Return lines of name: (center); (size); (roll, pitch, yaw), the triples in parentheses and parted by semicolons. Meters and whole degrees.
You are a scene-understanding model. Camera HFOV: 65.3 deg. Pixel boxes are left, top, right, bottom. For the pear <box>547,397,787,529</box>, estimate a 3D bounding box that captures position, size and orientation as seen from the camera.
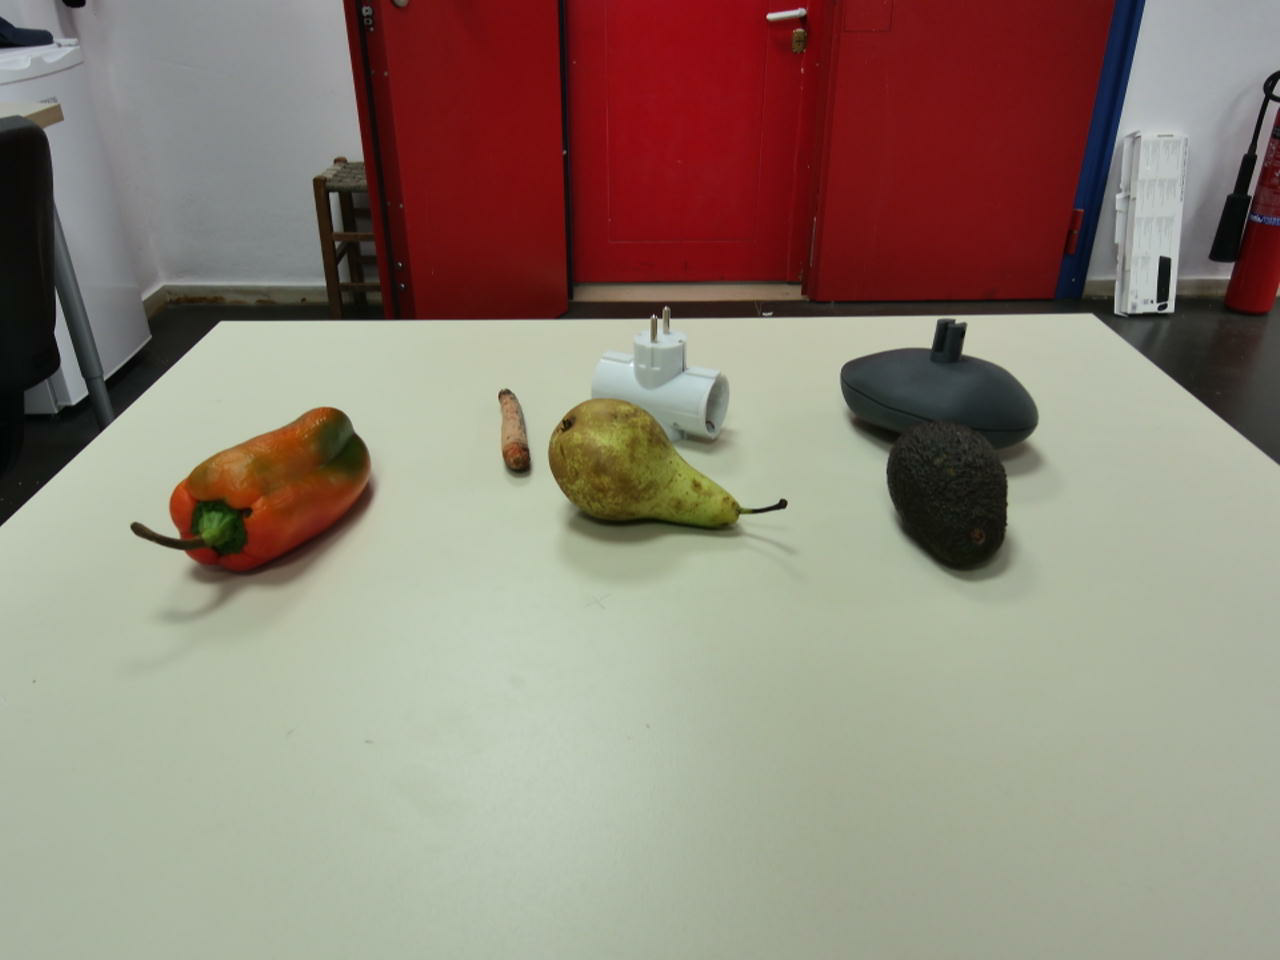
pear: (0.017, -0.012, 0.599); (0.144, 0.075, 0.071); (2, 27, 6)
